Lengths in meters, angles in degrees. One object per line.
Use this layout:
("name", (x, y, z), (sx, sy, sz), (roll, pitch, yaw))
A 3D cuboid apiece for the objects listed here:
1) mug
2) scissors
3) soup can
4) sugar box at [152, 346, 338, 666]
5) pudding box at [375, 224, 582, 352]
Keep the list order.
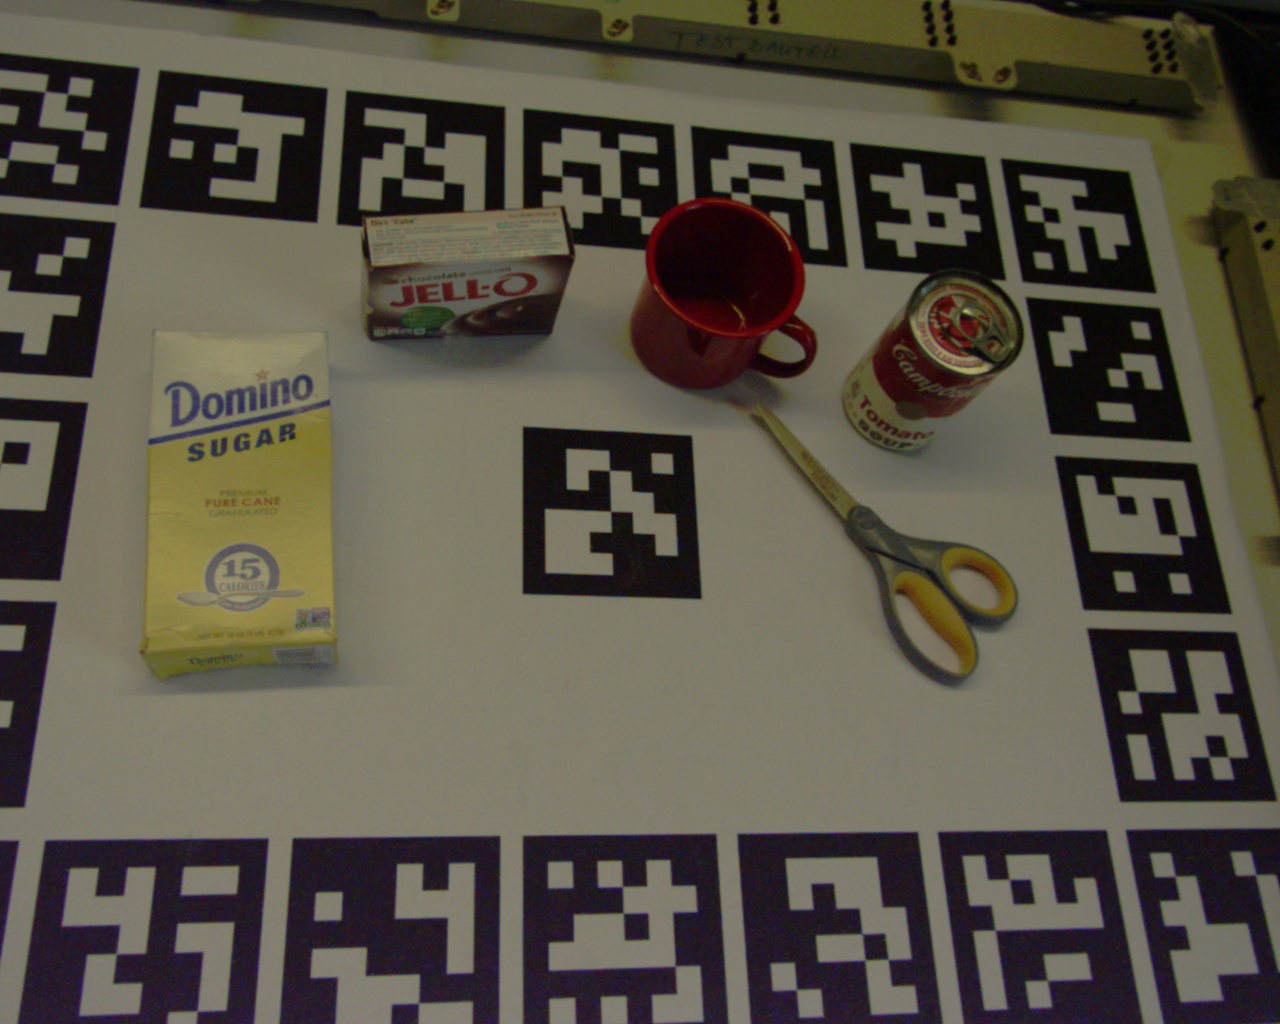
("mug", (0.046, -0.125, 0.705), (0.093, 0.081, 0.117), (-35, 80, -17))
("scissors", (0.135, 0.017, 0.707), (0.087, 0.016, 0.203), (-42, 84, -11))
("soup can", (0.161, -0.084, 0.710), (0.067, 0.102, 0.068), (3, 70, -10))
("sugar box", (-0.217, -0.005, 0.637), (0.092, 0.045, 0.177), (-2, 73, -10))
("pudding box", (-0.098, -0.131, 0.671), (0.113, 0.090, 0.039), (-7, 80, -14))
